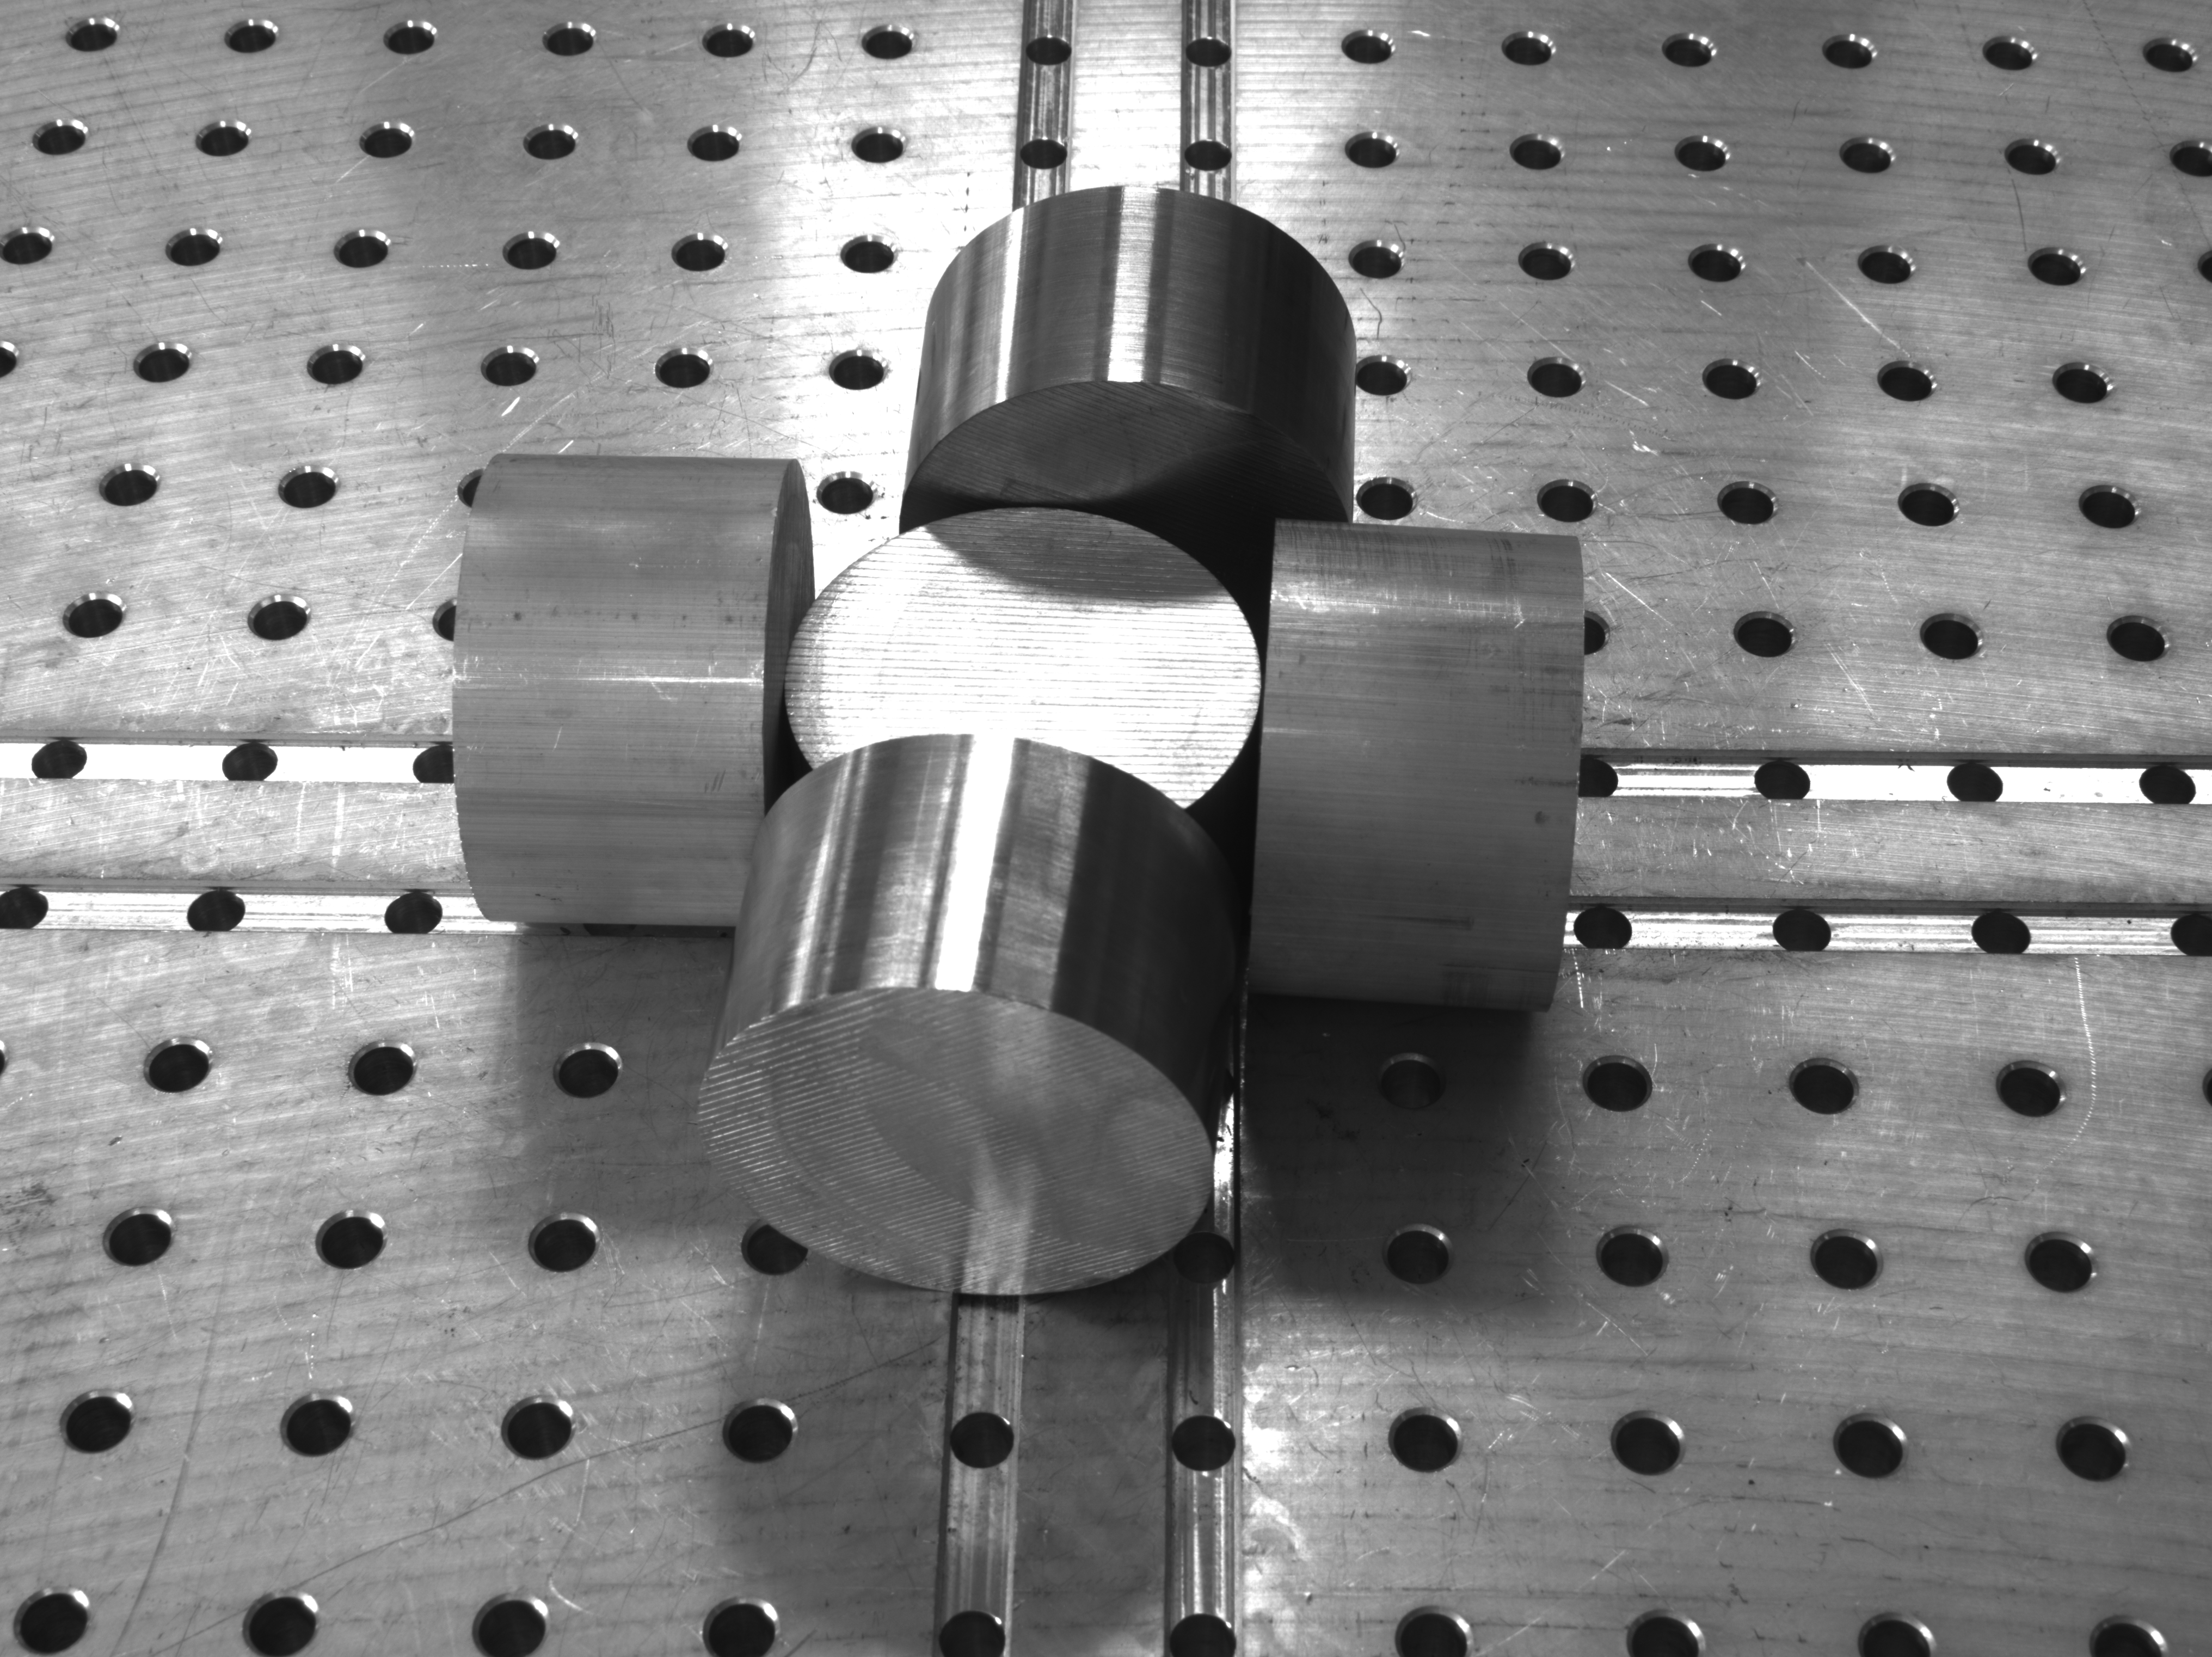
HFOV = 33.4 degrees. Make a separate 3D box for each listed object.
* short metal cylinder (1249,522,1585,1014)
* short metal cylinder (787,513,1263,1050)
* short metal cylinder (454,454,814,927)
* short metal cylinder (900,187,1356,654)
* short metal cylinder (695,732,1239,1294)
[{"bbox_3d":[0.051,-0.010,0.619,0.050,0.080,0.080,3,50,3],"label":"short metal cylinder"},{"bbox_3d":[-0.014,-0.009,0.638,0.080,0.050,0.080,1,50,-1],"label":"short metal cylinder"},{"bbox_3d":[-0.079,-0.023,0.630,0.050,0.080,0.080,2,50,1],"label":"short metal cylinder"},{"bbox_3d":[0.005,-0.069,0.668,0.080,0.080,0.050,2,49,2],"label":"short metal cylinder"},{"bbox_3d":[-0.021,0.030,0.583,0.080,0.080,0.050,5,50,4],"label":"short metal cylinder"}]
